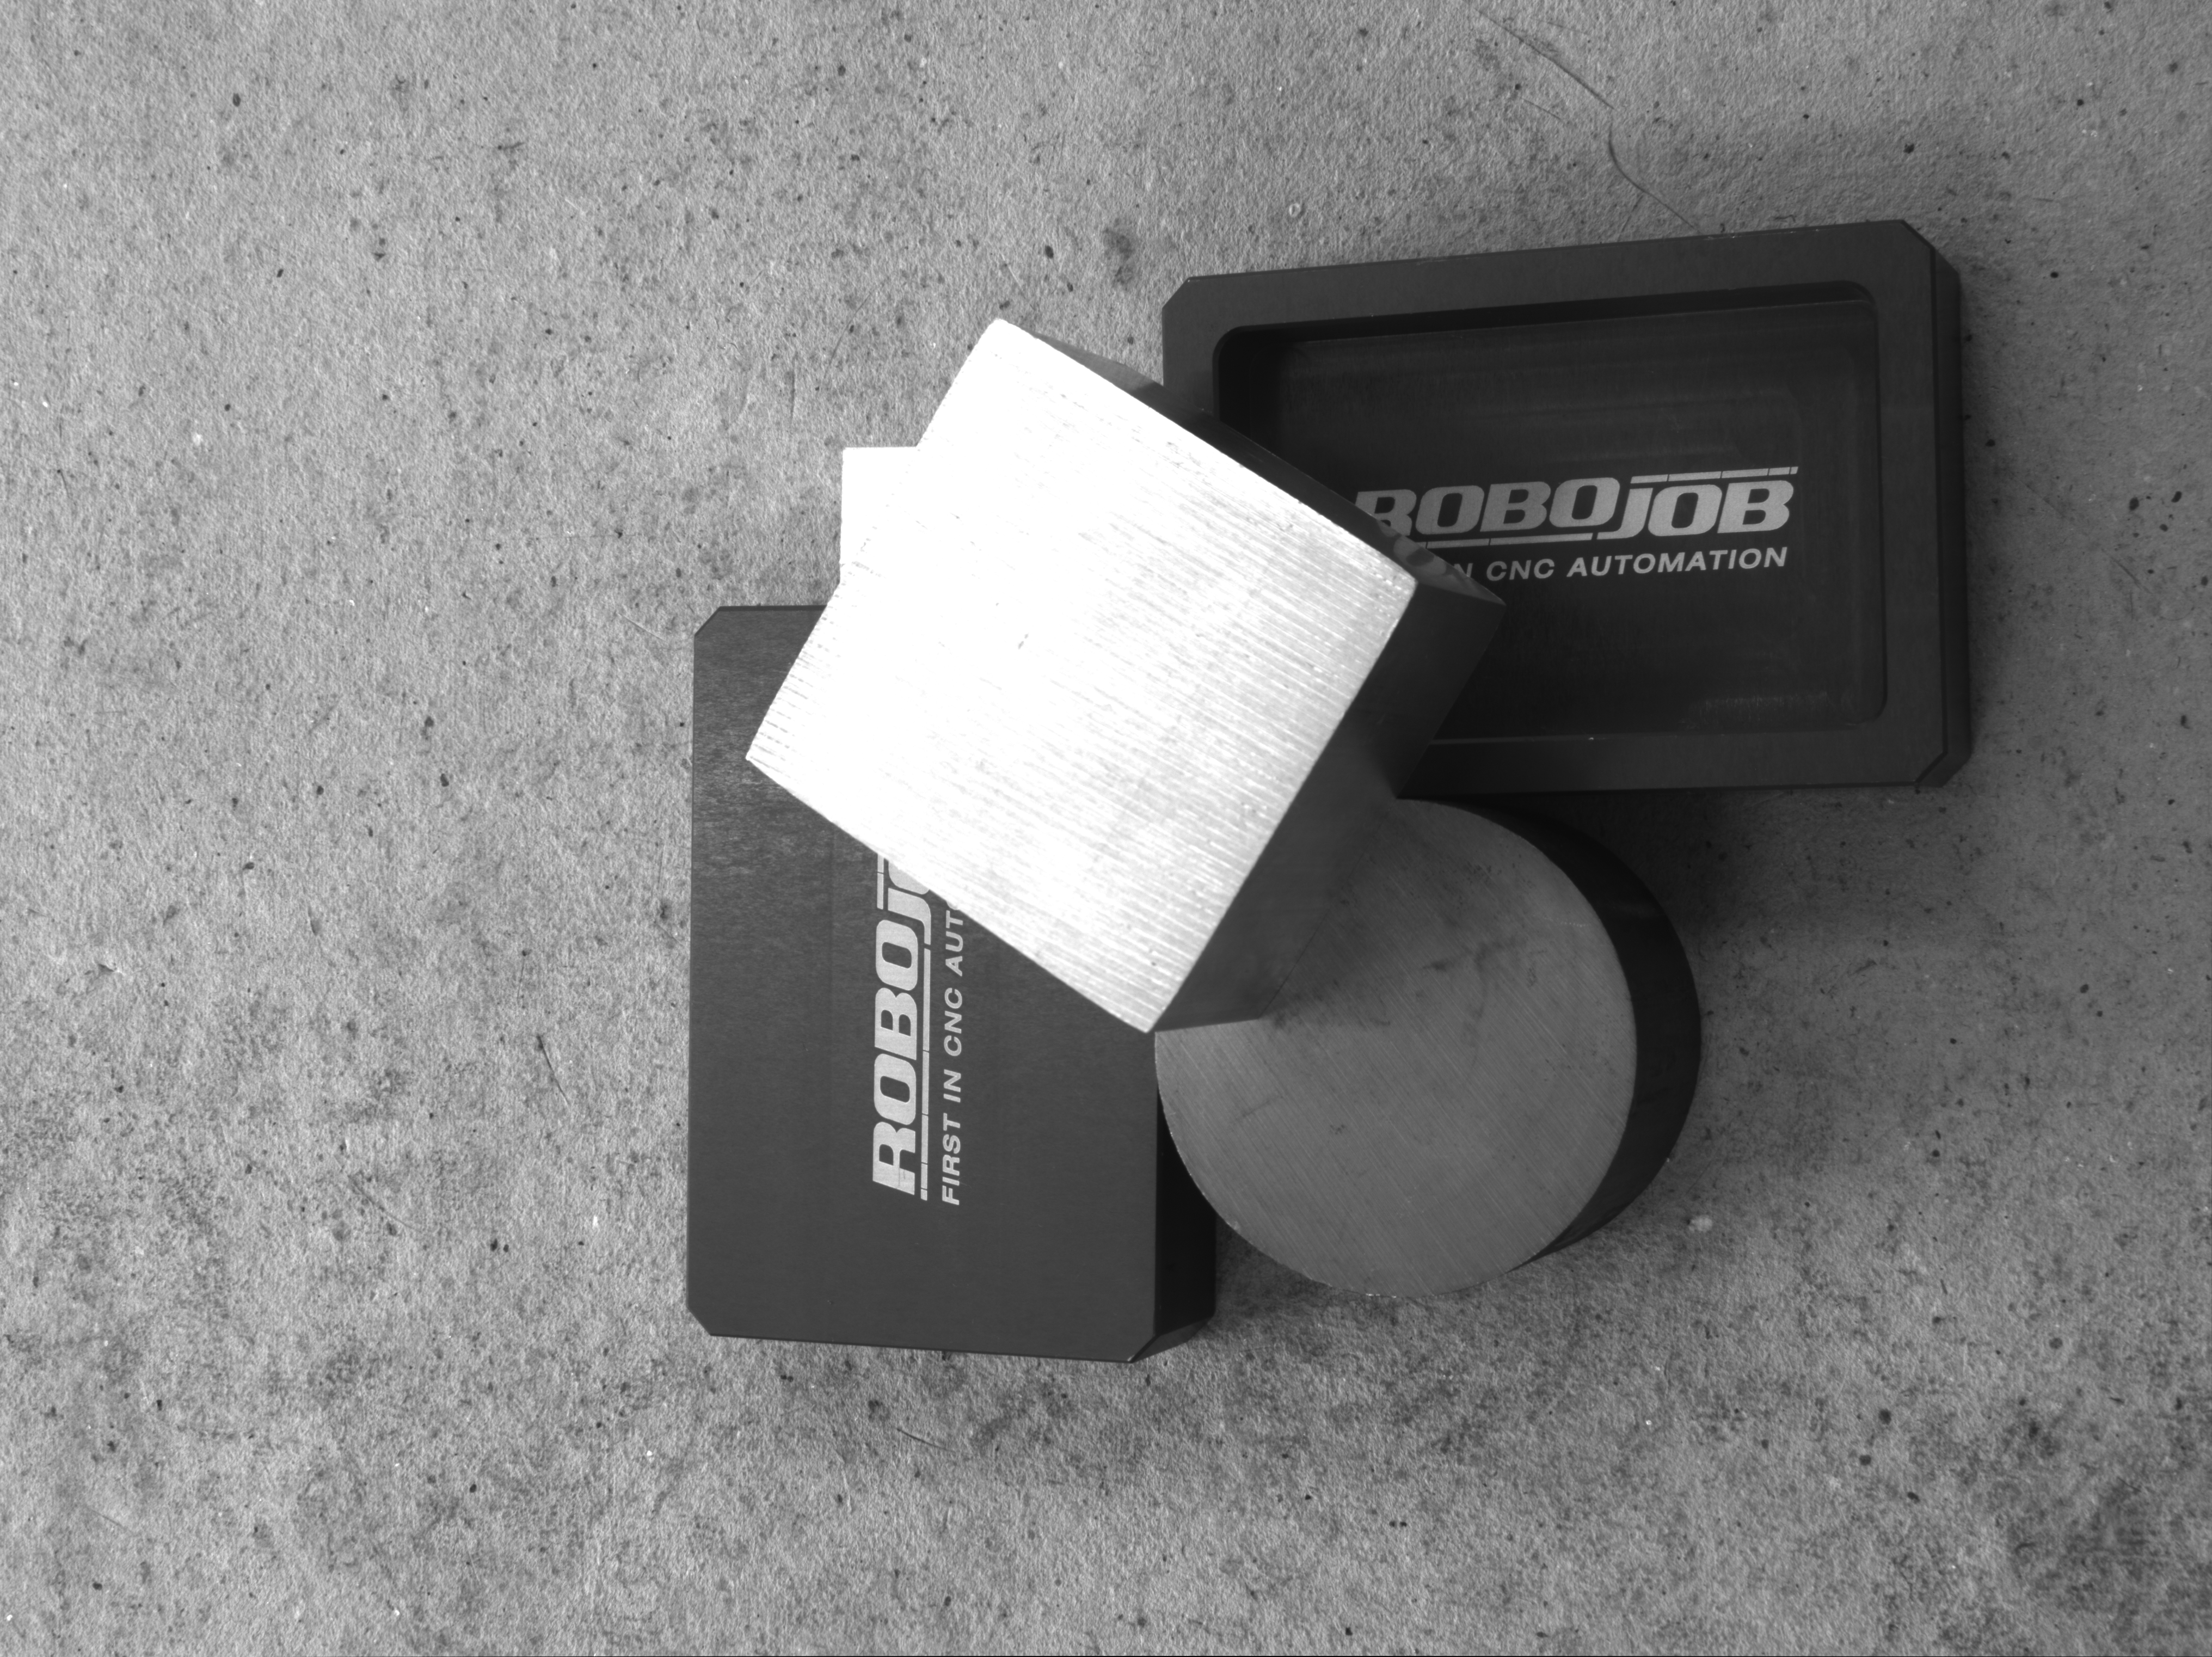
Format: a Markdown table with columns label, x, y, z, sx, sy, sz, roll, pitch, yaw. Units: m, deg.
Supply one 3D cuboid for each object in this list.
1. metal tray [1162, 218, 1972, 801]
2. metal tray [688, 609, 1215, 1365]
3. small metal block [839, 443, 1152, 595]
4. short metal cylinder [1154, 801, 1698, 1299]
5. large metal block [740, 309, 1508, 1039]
| label | x | y | z | sx | sy | sz | roll | pitch | yaw |
| --- | --- | --- | --- | --- | --- | --- | --- | --- | --- |
| metal tray | 0.076 | -0.050 | 0.616 | 0.130 | 0.030 | 0.090 | -2 | 89 | 20 |
| metal tray | -0.027 | 0.026 | 0.655 | 0.090 | 0.030 | 0.130 | 1 | 90 | 20 |
| small metal block | -0.013 | -0.051 | 0.639 | 0.050 | 0.050 | 0.025 | 1 | 90 | 20 |
| short metal cylinder | 0.054 | 0.036 | 0.614 | 0.080 | 0.050 | 0.080 | 0 | 90 | 21 |
| large metal block | 0.003 | -0.024 | 0.578 | 0.080 | 0.050 | 0.080 | 34 | 101 | 17 |
